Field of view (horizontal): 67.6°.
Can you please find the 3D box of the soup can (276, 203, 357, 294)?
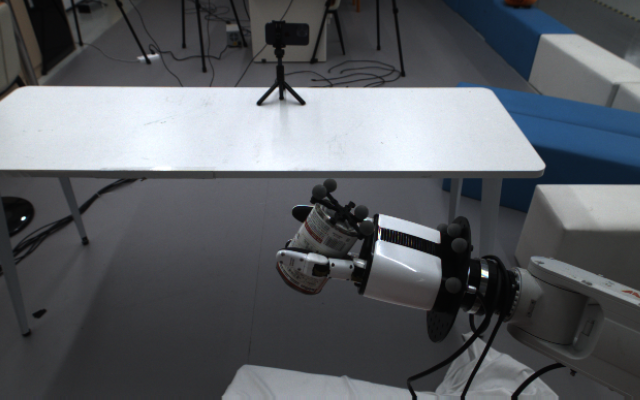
[{"bbox_3d":[0.001,0.059,0.600,0.067,0.101,0.067,28,21,-12],"label":"soup can"}]
